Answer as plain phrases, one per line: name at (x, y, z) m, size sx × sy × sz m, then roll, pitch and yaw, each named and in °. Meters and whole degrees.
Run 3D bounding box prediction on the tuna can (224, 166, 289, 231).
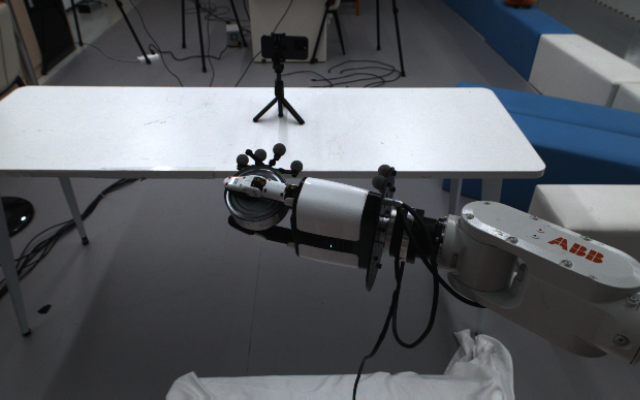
tuna can at (-0.083, -0.004, 0.651) m, size 0.085 × 0.034 × 0.085 m, roll -2°, pitch 57°, yaw 4°
